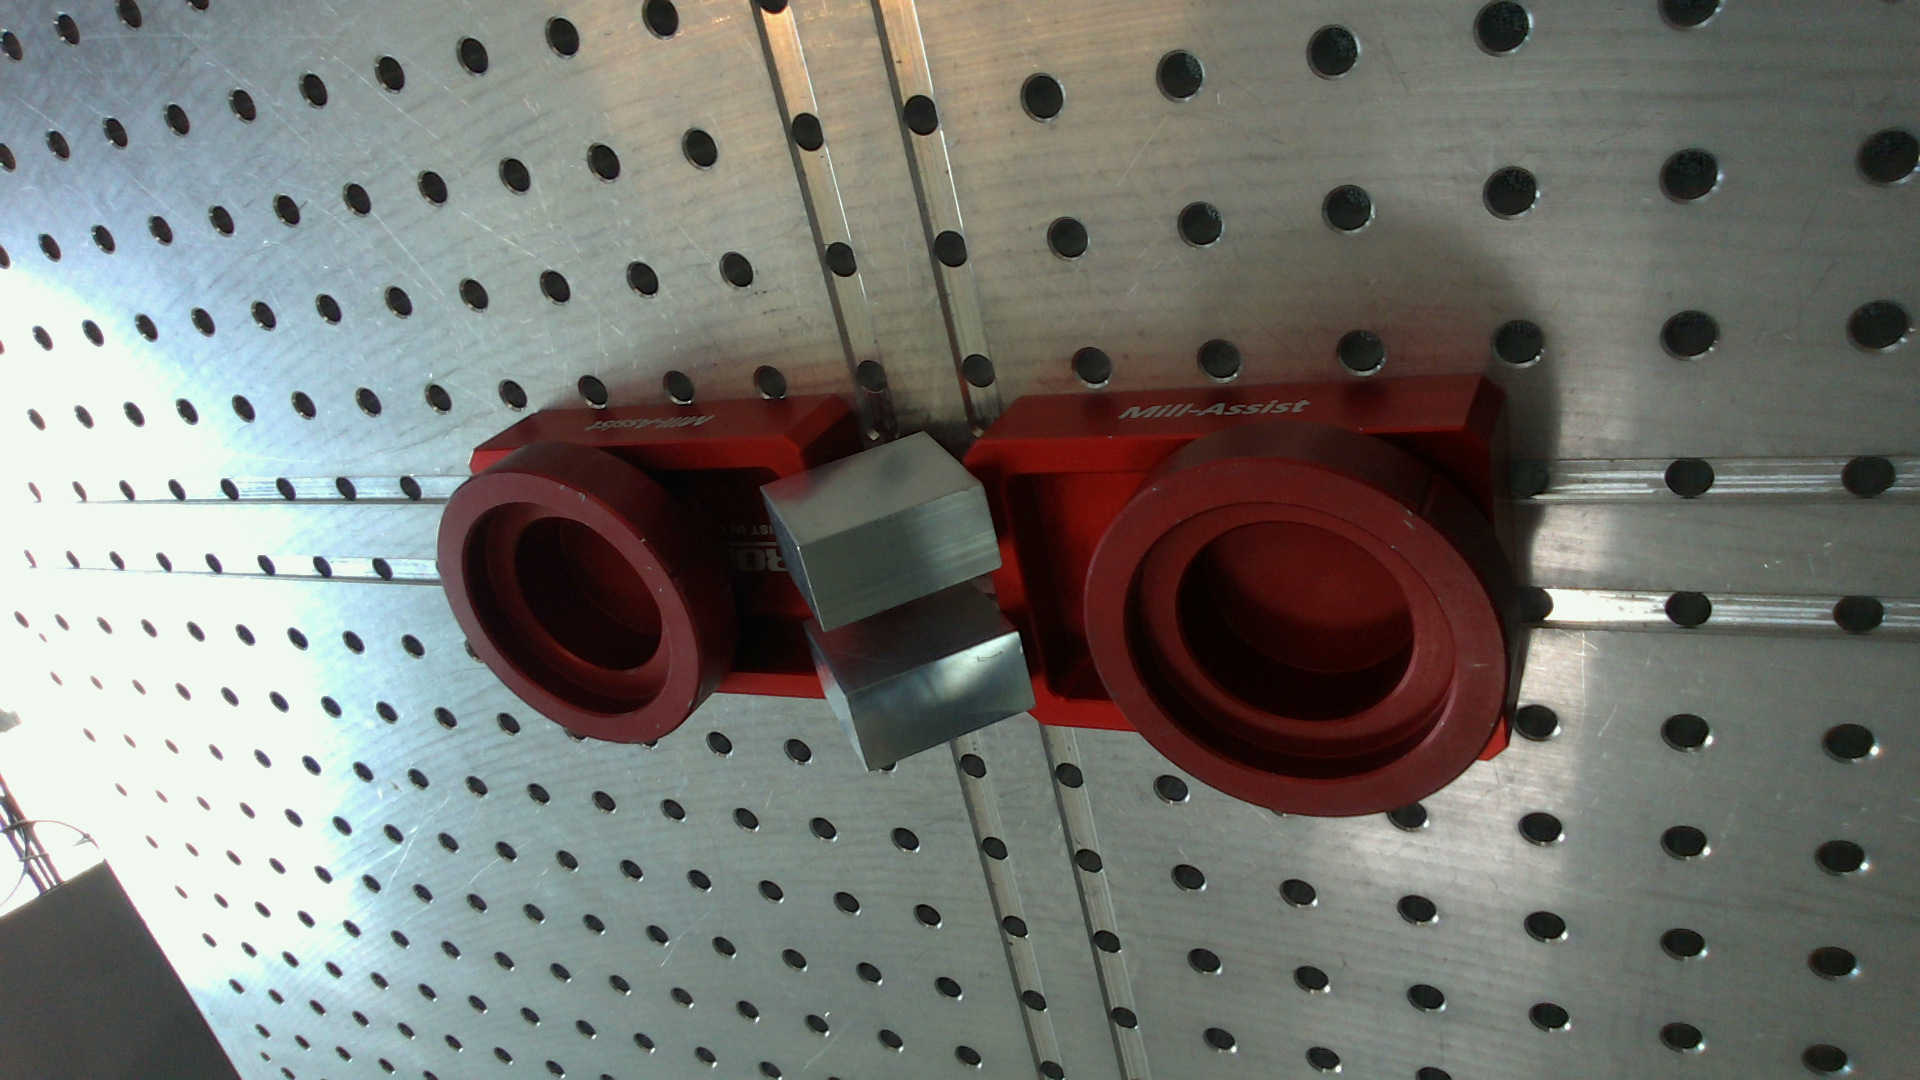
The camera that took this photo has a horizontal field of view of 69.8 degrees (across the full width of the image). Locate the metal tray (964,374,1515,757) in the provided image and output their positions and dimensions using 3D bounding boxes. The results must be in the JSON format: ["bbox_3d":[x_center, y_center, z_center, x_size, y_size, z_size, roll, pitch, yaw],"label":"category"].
[{"bbox_3d":[0.073,0.007,0.358,0.130,0.030,0.090,1,119,28],"label":"metal tray"}]

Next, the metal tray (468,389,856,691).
[{"bbox_3d":[-0.086,0.002,0.442,0.130,0.030,0.090,-1,120,29],"label":"metal tray"}]

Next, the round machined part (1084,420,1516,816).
[{"bbox_3d":[0.083,0.015,0.334,0.098,0.042,0.098,13,124,21],"label":"round machined part"}]

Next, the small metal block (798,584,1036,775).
[{"bbox_3d":[-0.013,0.035,0.389,0.050,0.050,0.025,-135,28,-61],"label":"small metal block"}]

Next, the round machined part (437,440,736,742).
[{"bbox_3d":[-0.113,0.012,0.437,0.098,0.042,0.098,13,124,21],"label":"round machined part"}]

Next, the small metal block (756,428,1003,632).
[{"bbox_3d":[-0.023,-0.005,0.371,0.050,0.050,0.025,-135,28,-61],"label":"small metal block"}]
